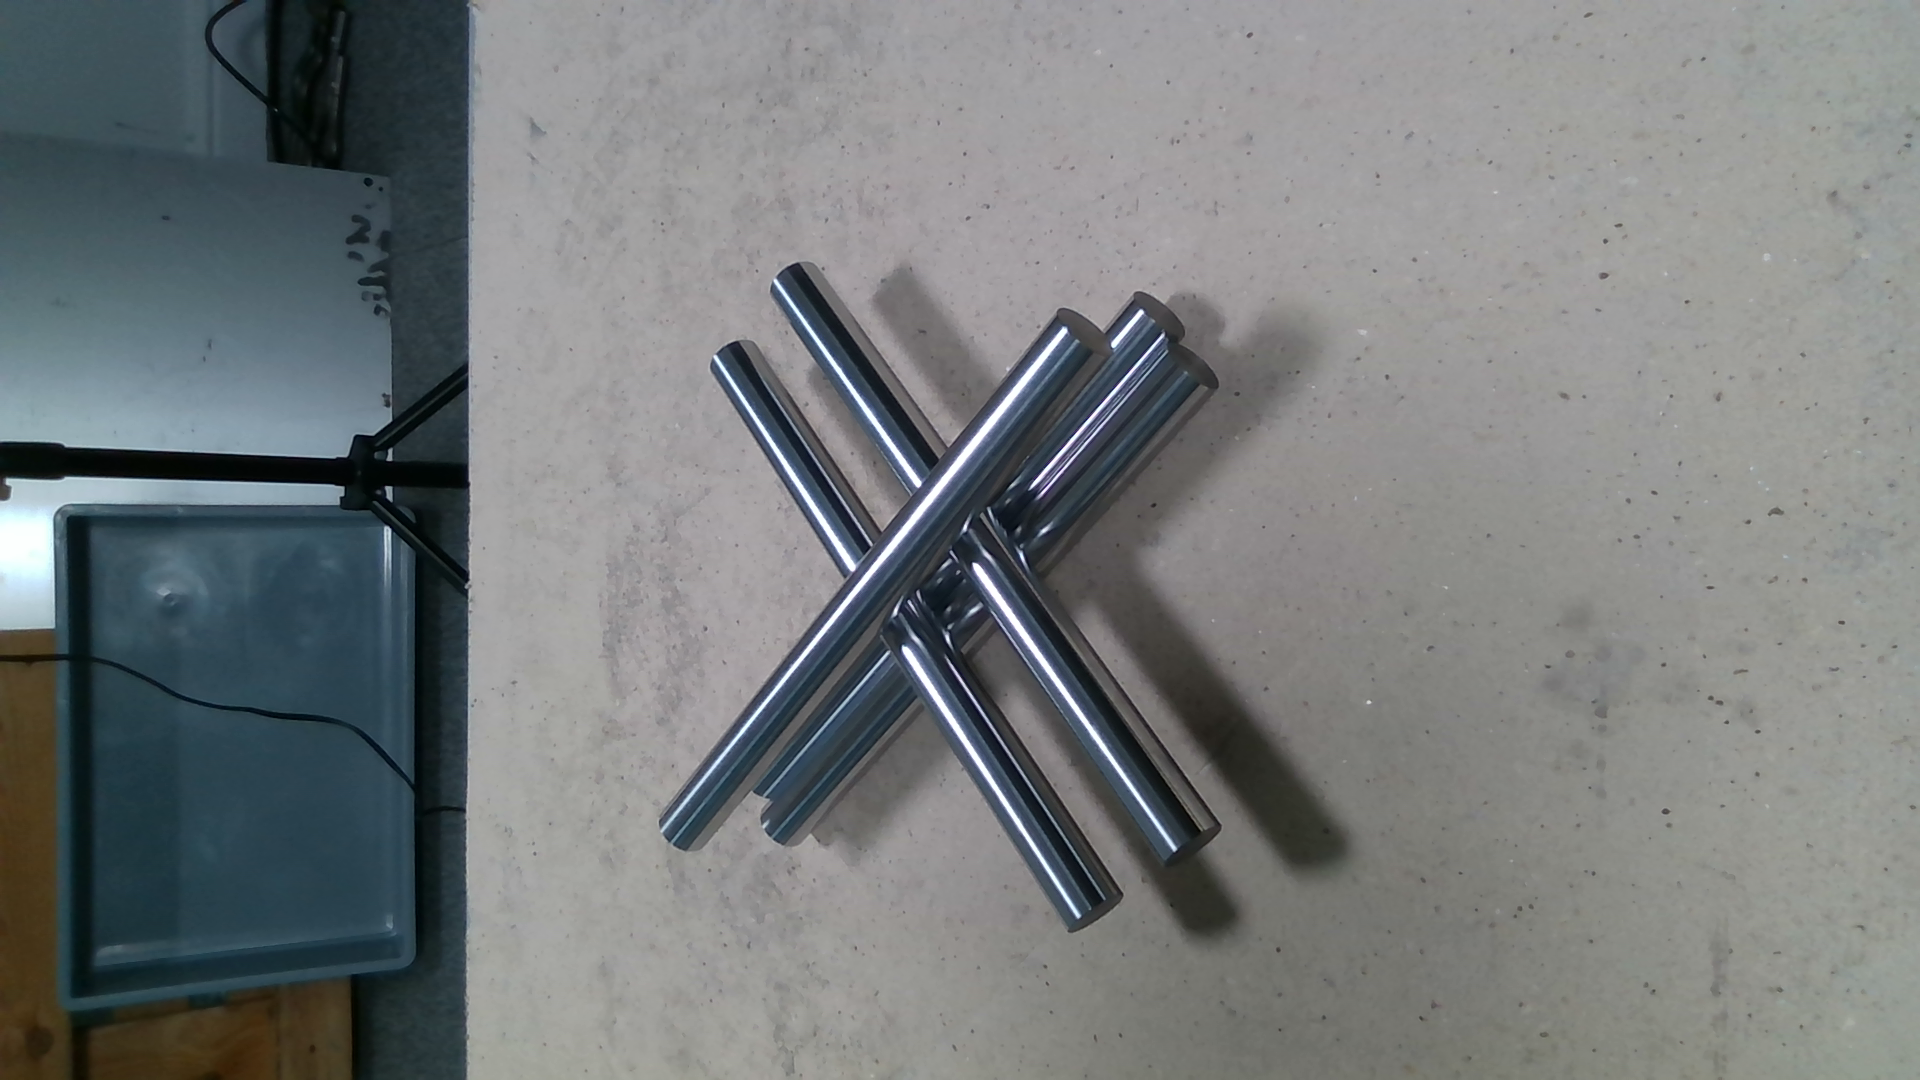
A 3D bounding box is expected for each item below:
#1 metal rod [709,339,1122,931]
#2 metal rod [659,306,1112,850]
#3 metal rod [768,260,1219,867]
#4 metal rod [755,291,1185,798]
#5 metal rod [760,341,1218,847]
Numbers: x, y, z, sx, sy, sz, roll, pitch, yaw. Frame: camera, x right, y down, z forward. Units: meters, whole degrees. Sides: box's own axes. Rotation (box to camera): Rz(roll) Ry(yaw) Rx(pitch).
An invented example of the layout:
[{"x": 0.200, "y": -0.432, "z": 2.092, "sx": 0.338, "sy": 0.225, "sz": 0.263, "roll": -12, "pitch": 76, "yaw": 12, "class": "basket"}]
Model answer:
[{"x": -0.028, "y": 0.027, "z": 0.573, "sx": 0.025, "sy": 0.025, "sz": 0.299, "roll": -50, "pitch": 61, "yaw": 29, "class": "metal rod"}, {"x": -0.041, "y": 0.028, "z": 0.551, "sx": 0.301, "sy": 0.025, "sz": 0.025, "roll": -50, "pitch": 60, "yaw": 29, "class": "metal rod"}, {"x": 0.003, "y": -0.004, "z": 0.546, "sx": 0.025, "sy": 0.025, "sz": 0.299, "roll": -50, "pitch": 61, "yaw": 29, "class": "metal rod"}, {"x": -0.010, "y": 0.014, "z": 0.591, "sx": 0.301, "sy": 0.025, "sz": 0.025, "roll": -50, "pitch": 61, "yaw": 29, "class": "metal rod"}, {"x": 0.001, "y": 0.035, "z": 0.582, "sx": 0.301, "sy": 0.025, "sz": 0.025, "roll": -50, "pitch": 61, "yaw": 29, "class": "metal rod"}]
